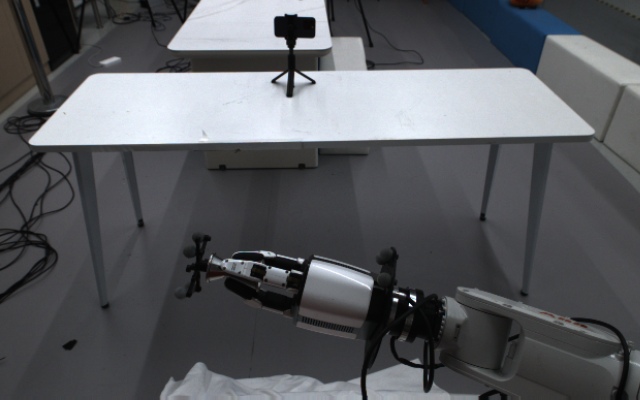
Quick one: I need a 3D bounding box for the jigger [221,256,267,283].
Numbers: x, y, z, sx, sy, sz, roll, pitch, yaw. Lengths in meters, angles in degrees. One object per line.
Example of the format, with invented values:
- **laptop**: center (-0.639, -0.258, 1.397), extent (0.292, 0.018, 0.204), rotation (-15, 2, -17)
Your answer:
- **jigger**: center (-0.104, 0.091, 0.636), extent (0.071, 0.043, 0.043), rotation (9, 35, 2)
